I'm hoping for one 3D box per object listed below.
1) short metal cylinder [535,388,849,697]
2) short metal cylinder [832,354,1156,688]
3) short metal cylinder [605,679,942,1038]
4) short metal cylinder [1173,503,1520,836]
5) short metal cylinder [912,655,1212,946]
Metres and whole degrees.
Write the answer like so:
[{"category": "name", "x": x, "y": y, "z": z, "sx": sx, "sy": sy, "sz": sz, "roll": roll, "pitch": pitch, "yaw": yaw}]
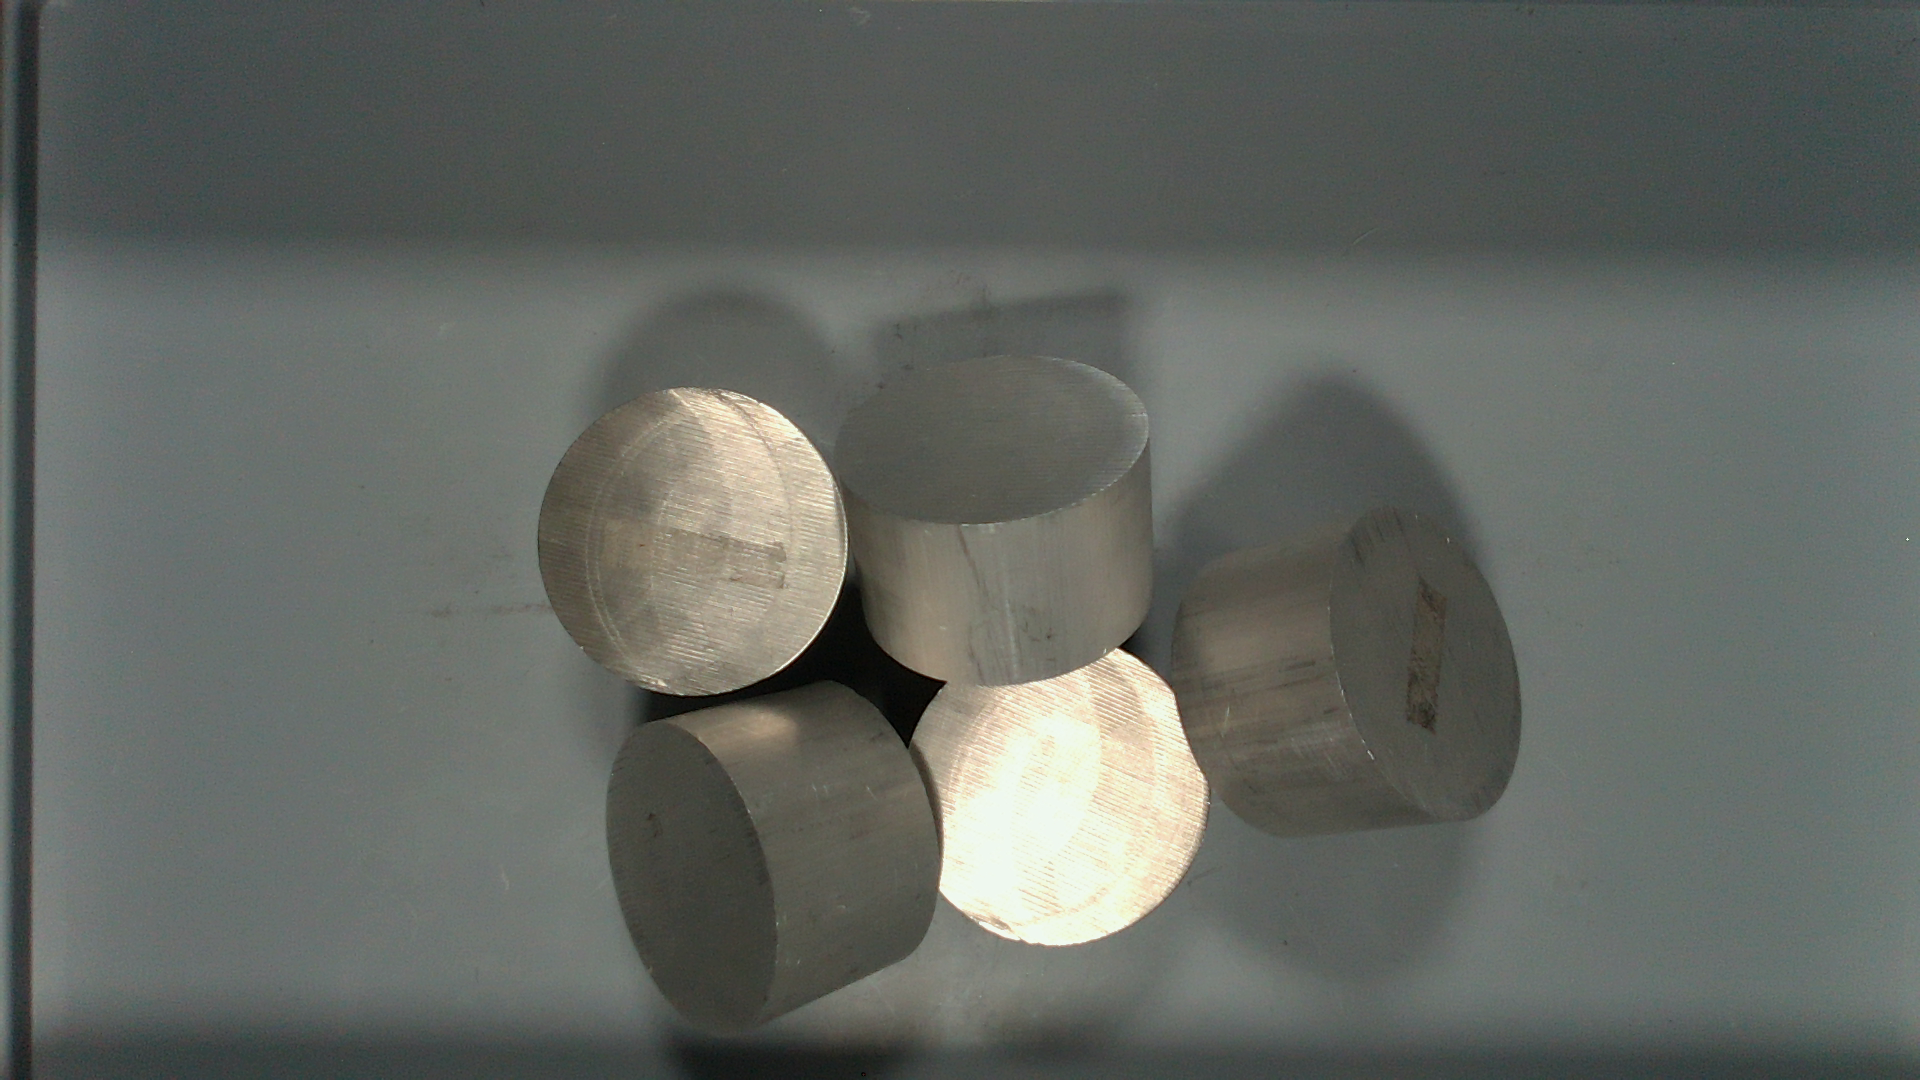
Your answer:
[{"category": "short metal cylinder", "x": -0.070, "y": 0.001, "z": 0.380, "sx": 0.080, "sy": 0.050, "sz": 0.080, "roll": 0, "pitch": 90, "yaw": 0}, {"category": "short metal cylinder", "x": 0.011, "y": -0.007, "z": 0.359, "sx": 0.080, "sy": 0.080, "sz": 0.050, "roll": -8, "pitch": 126, "yaw": 0}, {"category": "short metal cylinder", "x": -0.050, "y": 0.081, "z": 0.360, "sx": 0.050, "sy": 0.080, "sz": 0.080, "roll": -12, "pitch": 90, "yaw": -42}, {"category": "short metal cylinder", "x": 0.102, "y": 0.035, "z": 0.362, "sx": 0.080, "sy": 0.050, "sz": 0.080, "roll": 14, "pitch": 67, "yaw": -36}, {"category": "short metal cylinder", "x": 0.026, "y": 0.065, "z": 0.382, "sx": 0.080, "sy": 0.050, "sz": 0.080, "roll": 0, "pitch": 90, "yaw": 0}]
